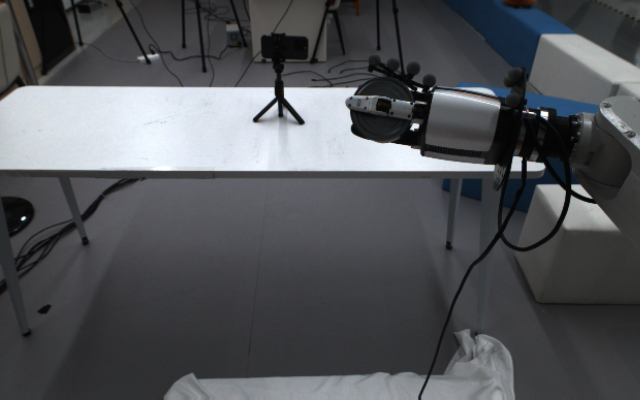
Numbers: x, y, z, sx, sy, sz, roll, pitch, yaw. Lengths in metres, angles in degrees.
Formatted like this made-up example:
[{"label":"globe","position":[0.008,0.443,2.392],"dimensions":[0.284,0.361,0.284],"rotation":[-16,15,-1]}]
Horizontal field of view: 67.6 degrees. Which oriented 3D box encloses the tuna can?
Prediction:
[{"label":"tuna can","position":[0.087,-0.123,0.655],"dimensions":[0.085,0.085,0.034],"rotation":[13,3,15]}]
